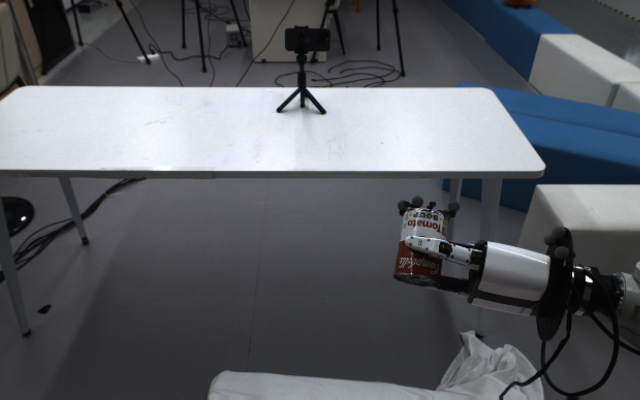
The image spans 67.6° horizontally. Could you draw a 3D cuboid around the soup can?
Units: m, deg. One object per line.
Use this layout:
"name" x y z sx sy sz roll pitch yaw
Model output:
"soup can" 0.151 0.068 0.714 0.067 0.067 0.101 9 72 10
